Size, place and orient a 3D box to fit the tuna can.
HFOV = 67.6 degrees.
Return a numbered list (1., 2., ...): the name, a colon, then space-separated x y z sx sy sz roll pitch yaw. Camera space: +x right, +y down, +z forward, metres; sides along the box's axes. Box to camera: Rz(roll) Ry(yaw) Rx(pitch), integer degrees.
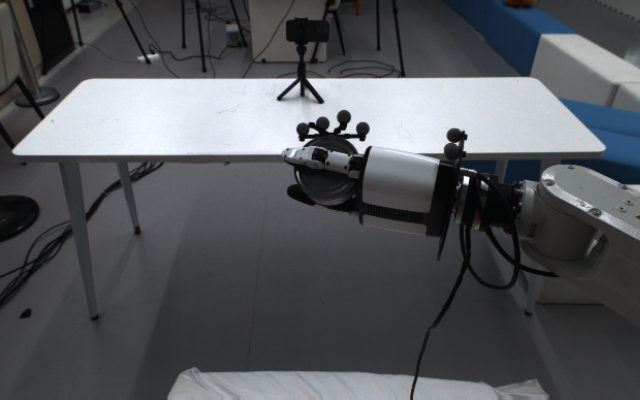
1. tuna can: 0.013 -0.038 0.621 0.085 0.034 0.085 -3 73 10
